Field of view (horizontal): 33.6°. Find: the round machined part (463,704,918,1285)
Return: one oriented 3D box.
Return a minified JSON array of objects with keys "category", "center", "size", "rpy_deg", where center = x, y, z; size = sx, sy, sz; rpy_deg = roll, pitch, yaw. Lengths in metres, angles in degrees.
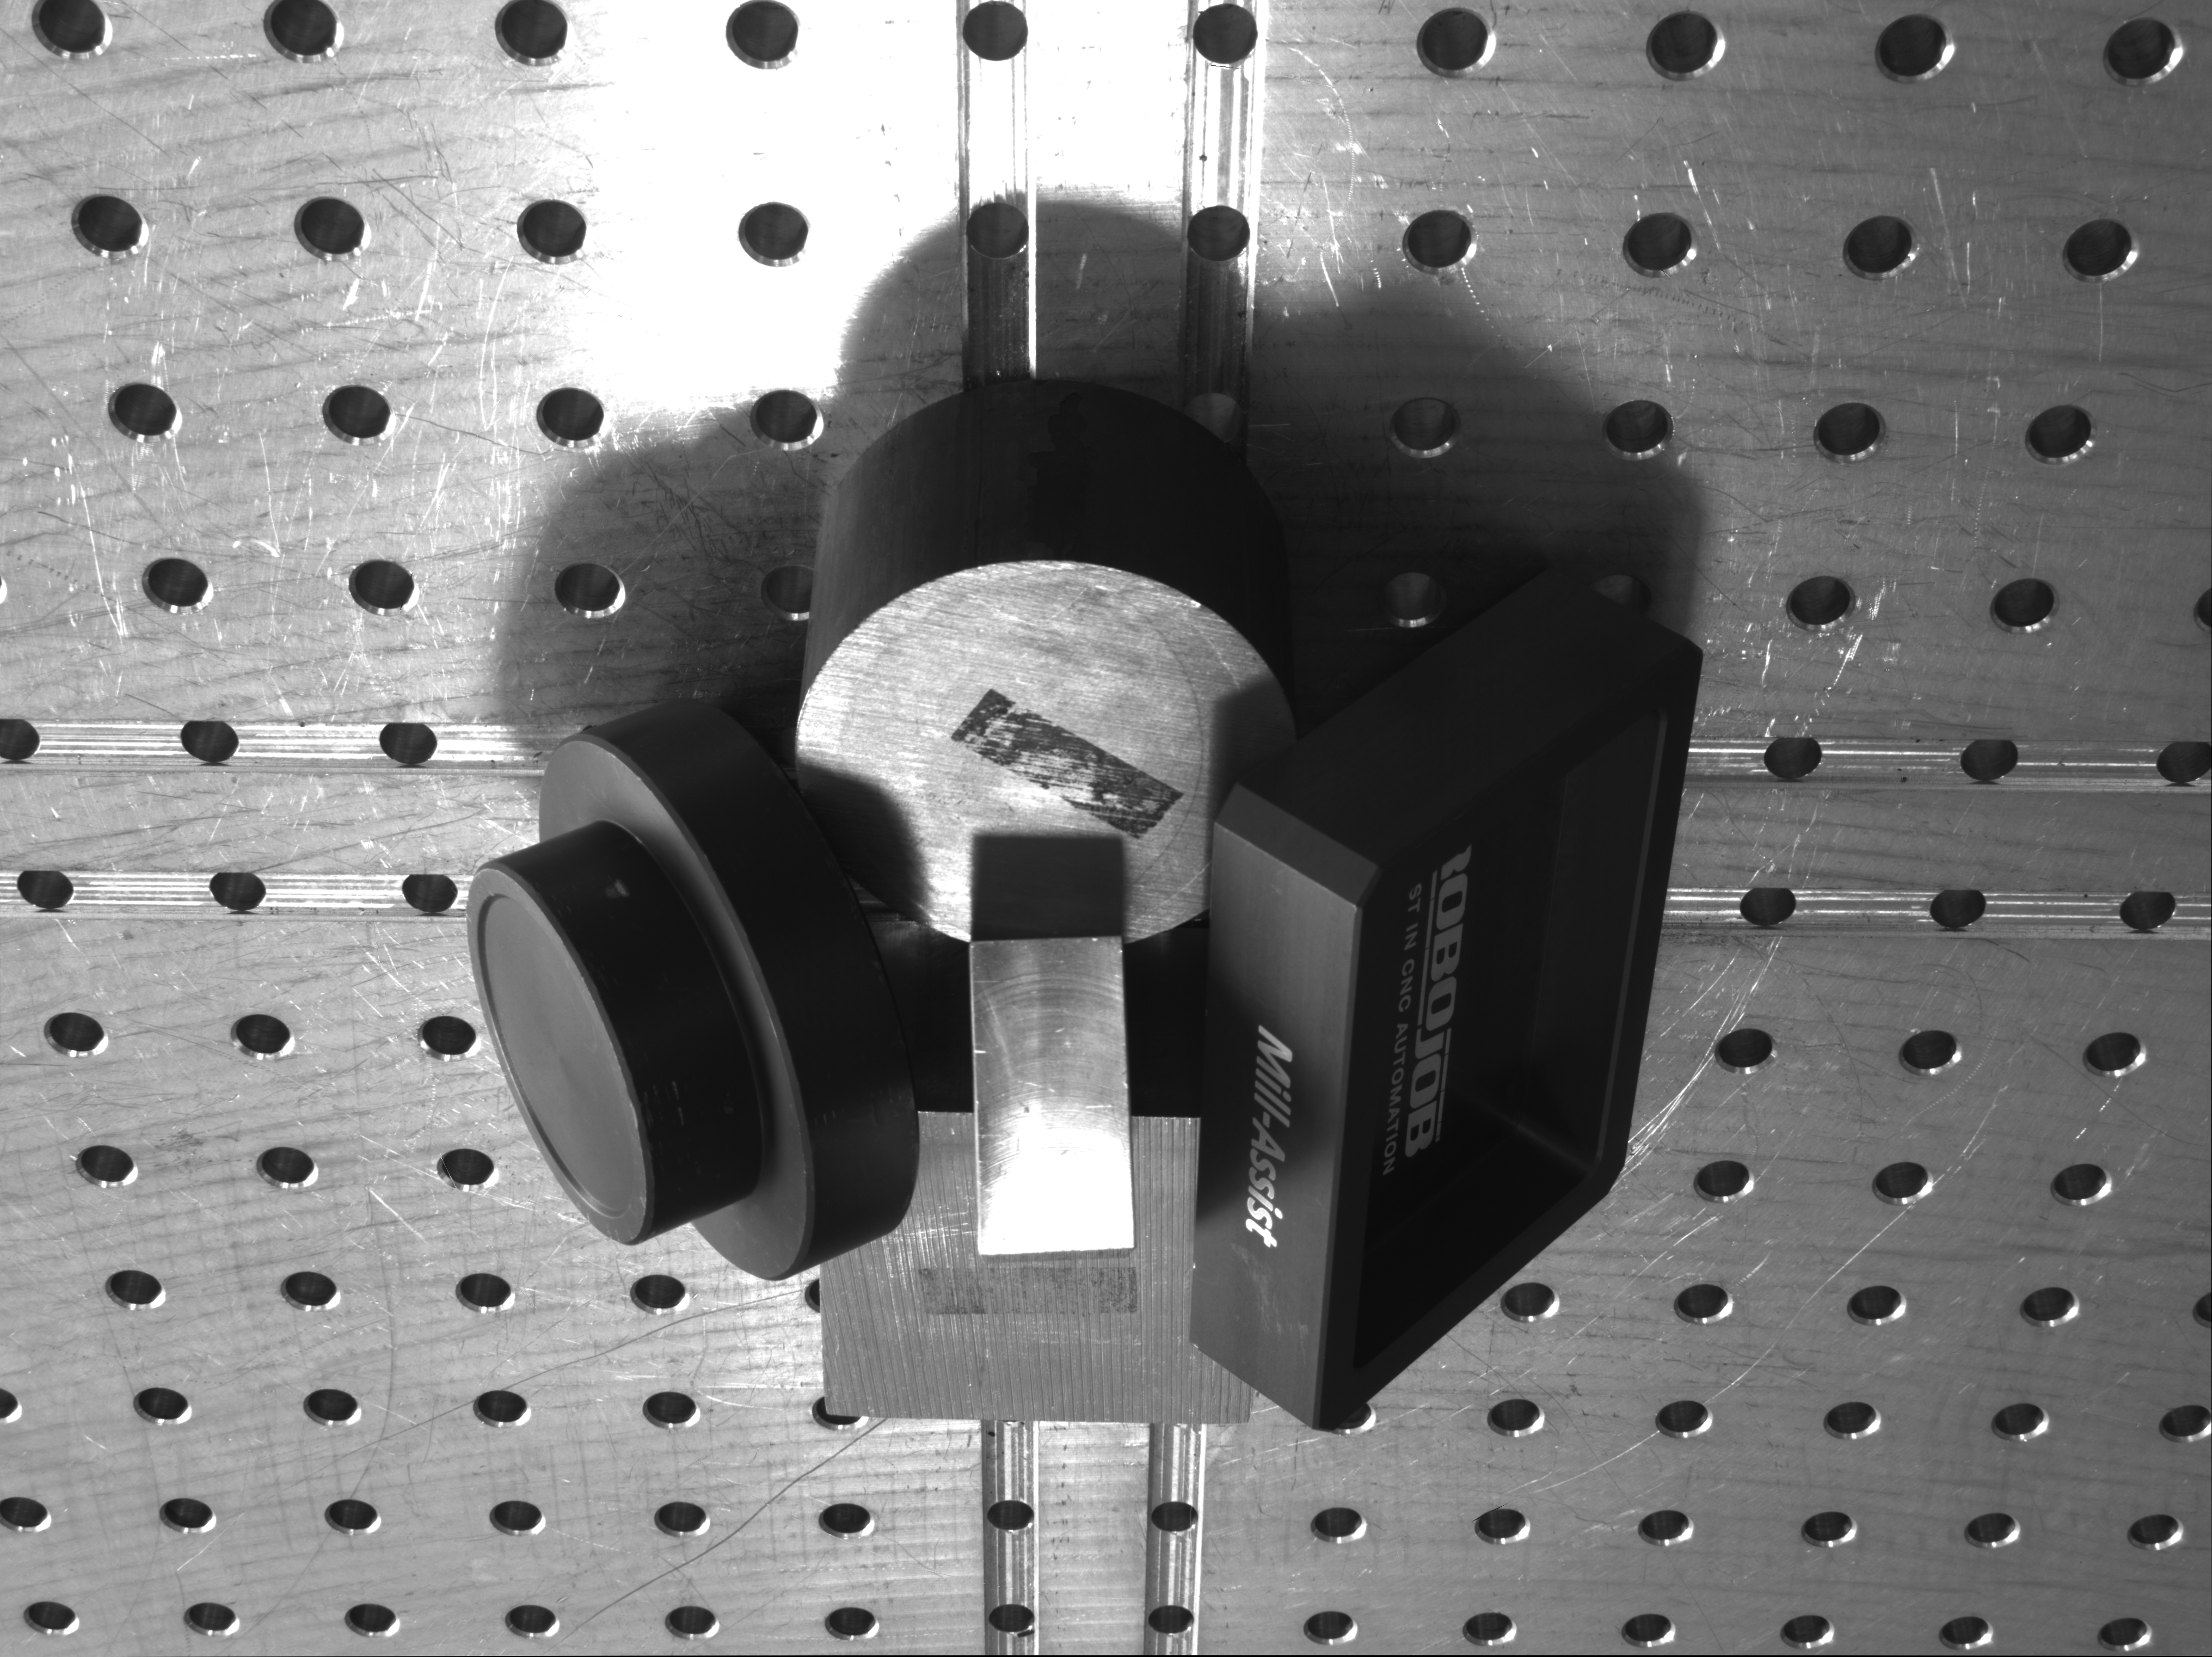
[{"category":"round machined part","center":[-0.074,0.032,0.616],"size":[0.042,0.098,0.098],"rpy_deg":[-22,135,-26]}]

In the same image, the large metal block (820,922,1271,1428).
[{"category":"large metal block","center":[-0.011,0.065,0.679],"size":[0.080,0.050,0.080],"rpy_deg":[2,130,-1]}]

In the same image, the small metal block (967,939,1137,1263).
[{"category":"small metal block","center":[-0.009,0.046,0.610],"size":[0.025,0.050,0.050],"rpy_deg":[-2,172,-2]}]

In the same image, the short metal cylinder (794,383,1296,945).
[{"category":"short metal cylinder","center":[-0.010,-0.026,0.603],"size":[0.080,0.050,0.080],"rpy_deg":[0,130,0]}]

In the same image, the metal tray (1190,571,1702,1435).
[{"category":"metal tray","center":[0.057,0.031,0.628],"size":[0.030,0.090,0.130],"rpy_deg":[31,138,31]}]
